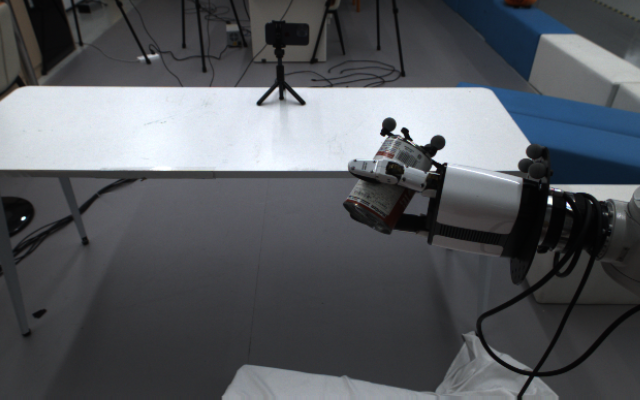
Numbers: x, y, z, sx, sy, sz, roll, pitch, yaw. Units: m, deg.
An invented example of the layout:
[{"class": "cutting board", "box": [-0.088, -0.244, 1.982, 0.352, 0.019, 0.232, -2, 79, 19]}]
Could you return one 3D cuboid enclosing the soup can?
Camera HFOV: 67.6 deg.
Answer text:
[{"class": "soup can", "box": [0.083, -0.020, 0.591, 0.067, 0.067, 0.101, 27, 78, 32]}]
